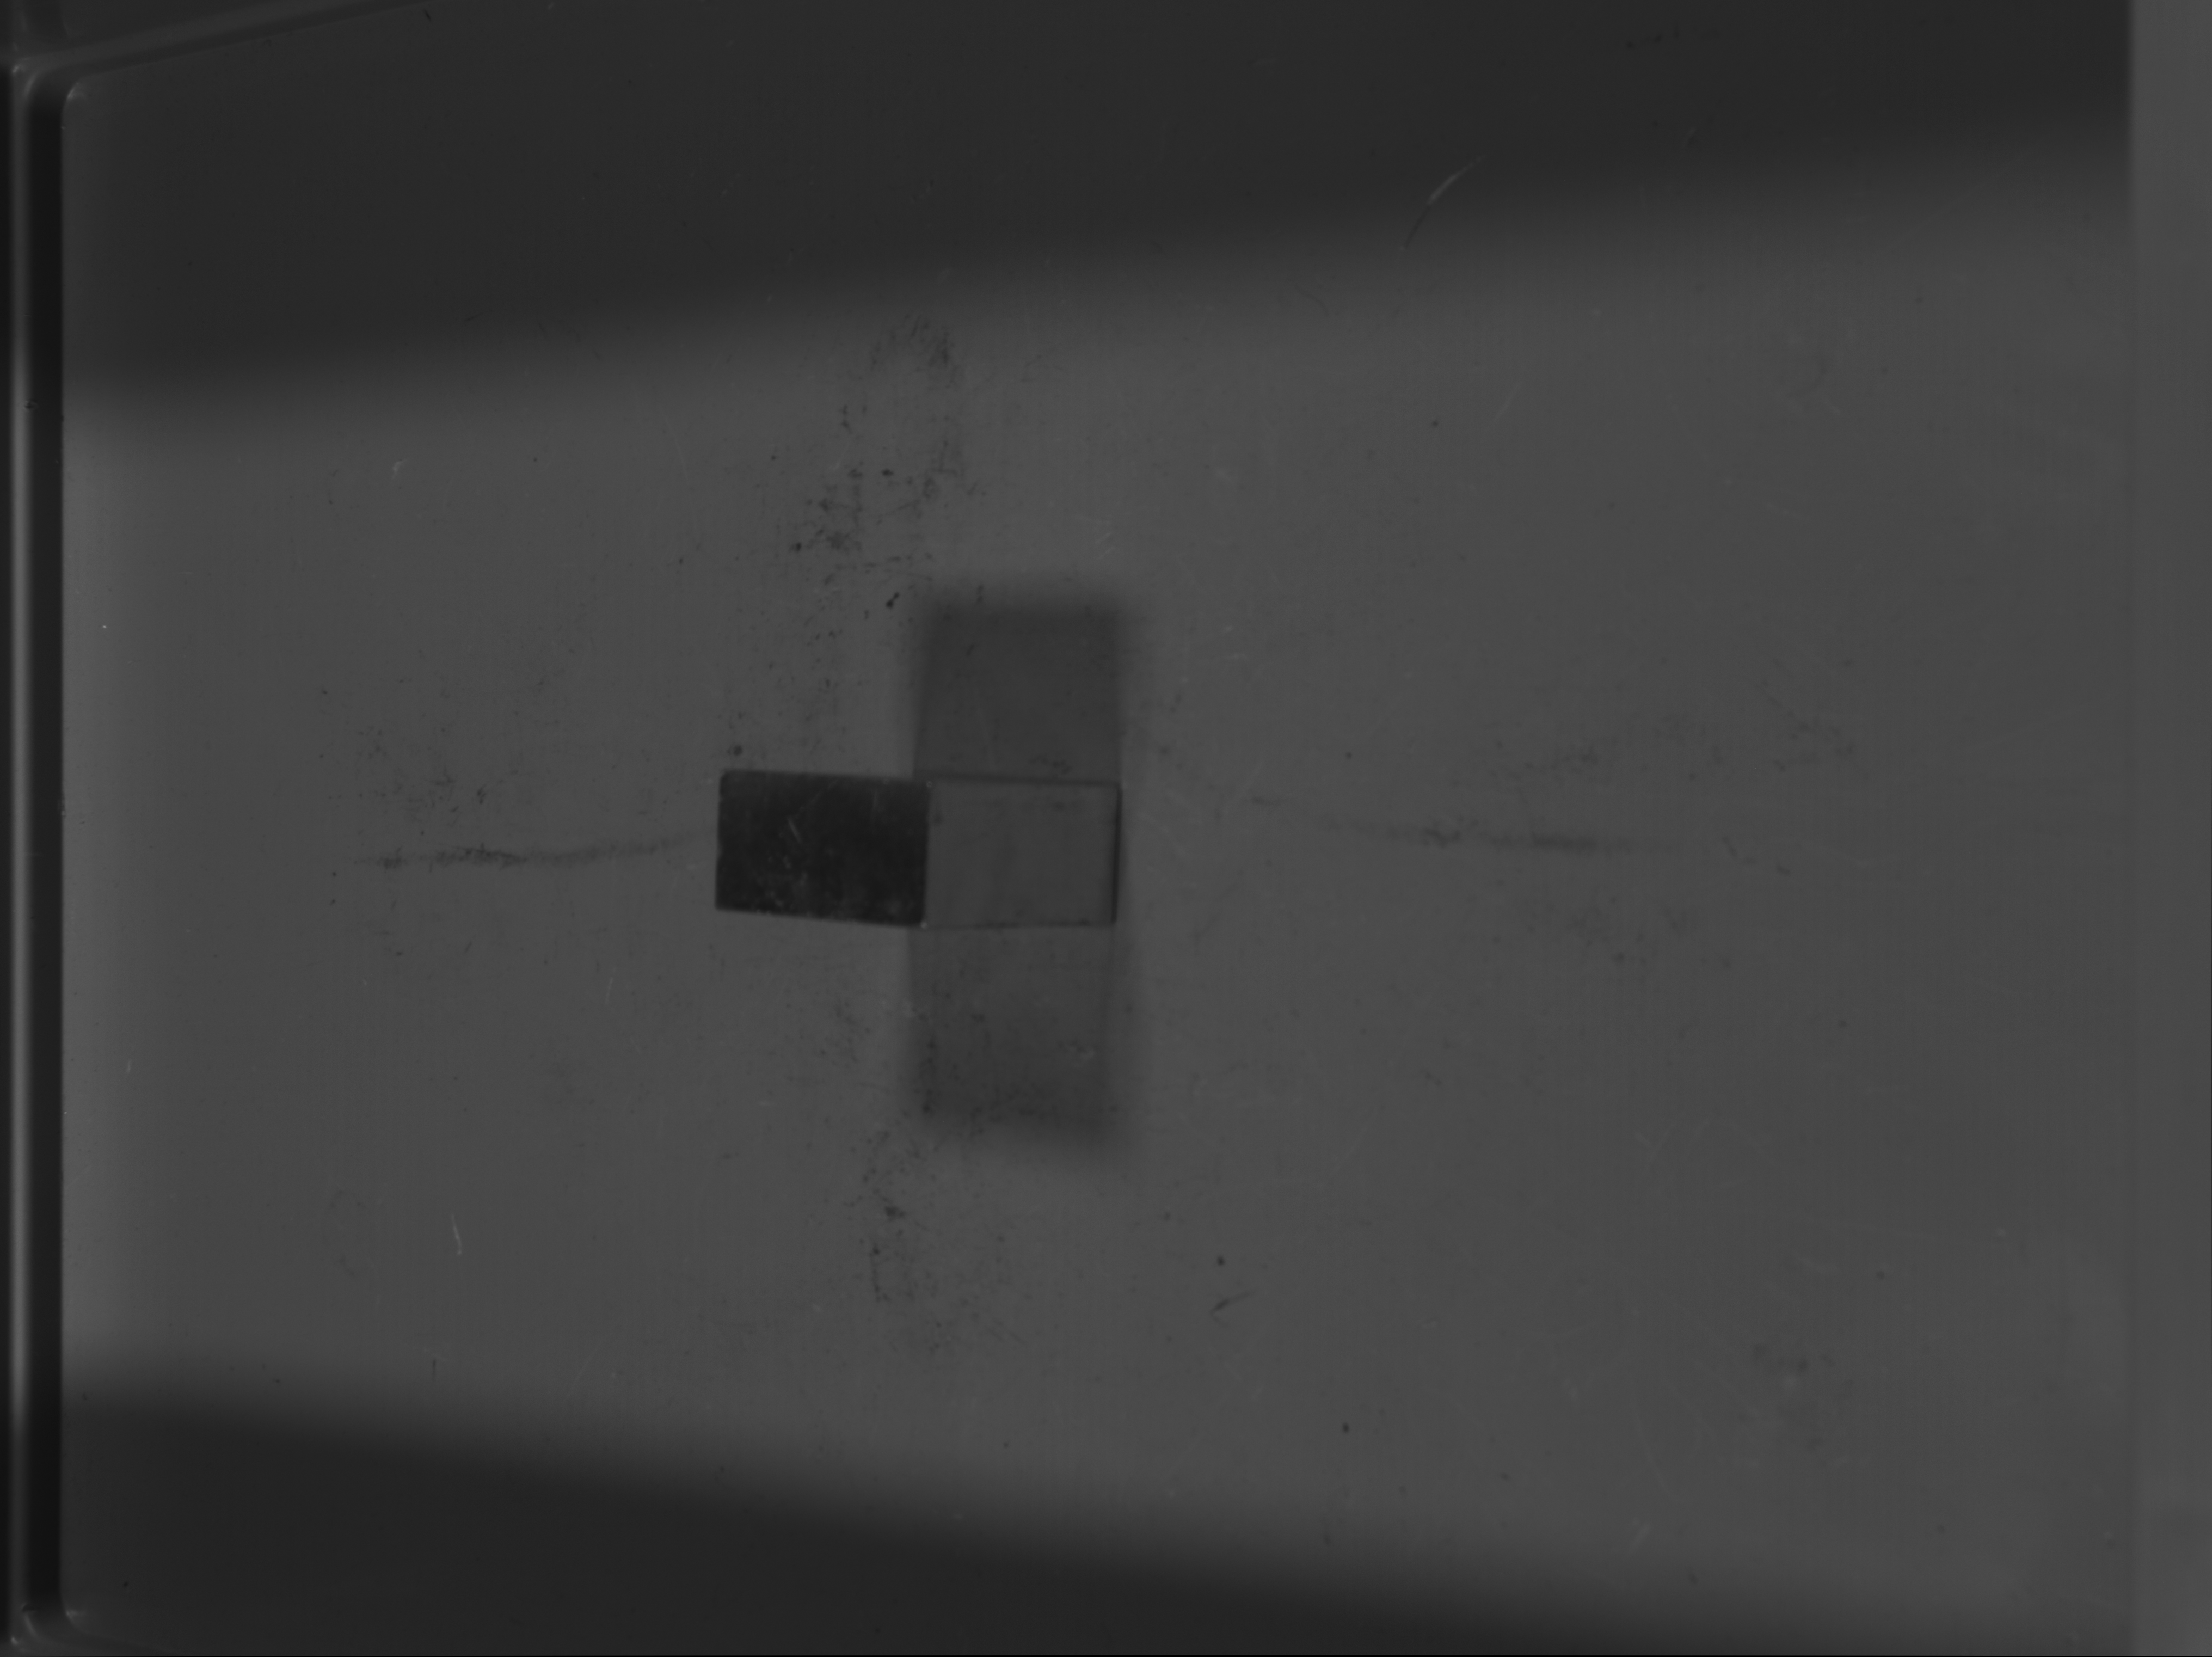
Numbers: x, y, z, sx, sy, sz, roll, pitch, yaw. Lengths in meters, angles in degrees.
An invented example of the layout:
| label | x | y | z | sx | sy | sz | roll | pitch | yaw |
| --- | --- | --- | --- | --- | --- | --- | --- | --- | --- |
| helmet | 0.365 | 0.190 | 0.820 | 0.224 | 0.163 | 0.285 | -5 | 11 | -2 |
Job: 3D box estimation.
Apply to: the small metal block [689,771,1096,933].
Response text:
| label | x | y | z | sx | sy | sz | roll | pitch | yaw |
| --- | --- | --- | --- | --- | --- | --- | --- | --- | --- |
| small metal block | -0.038 | 0.004 | 0.647 | 0.050 | 0.050 | 0.025 | 4 | 92 | 39 |
